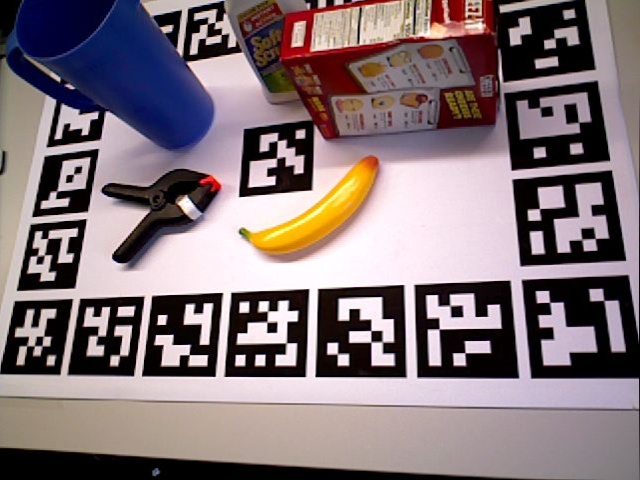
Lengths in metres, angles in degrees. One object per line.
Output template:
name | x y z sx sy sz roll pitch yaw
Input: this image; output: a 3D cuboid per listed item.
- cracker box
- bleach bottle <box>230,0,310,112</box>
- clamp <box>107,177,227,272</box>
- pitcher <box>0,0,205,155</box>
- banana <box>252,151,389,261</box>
cracker box | 0.095 -0.188 0.588 0.215 0.165 0.071 -5 65 18
bleach bottle | -0.060 -0.253 0.632 0.103 0.252 0.067 -6 67 15
clamp | -0.202 -0.036 0.718 0.165 0.037 0.121 -21 64 8
pitcher | -0.245 -0.203 0.654 0.189 0.244 0.132 -22 64 5
banana | 0.012 -0.033 0.655 0.197 0.039 0.074 -37 63 3
